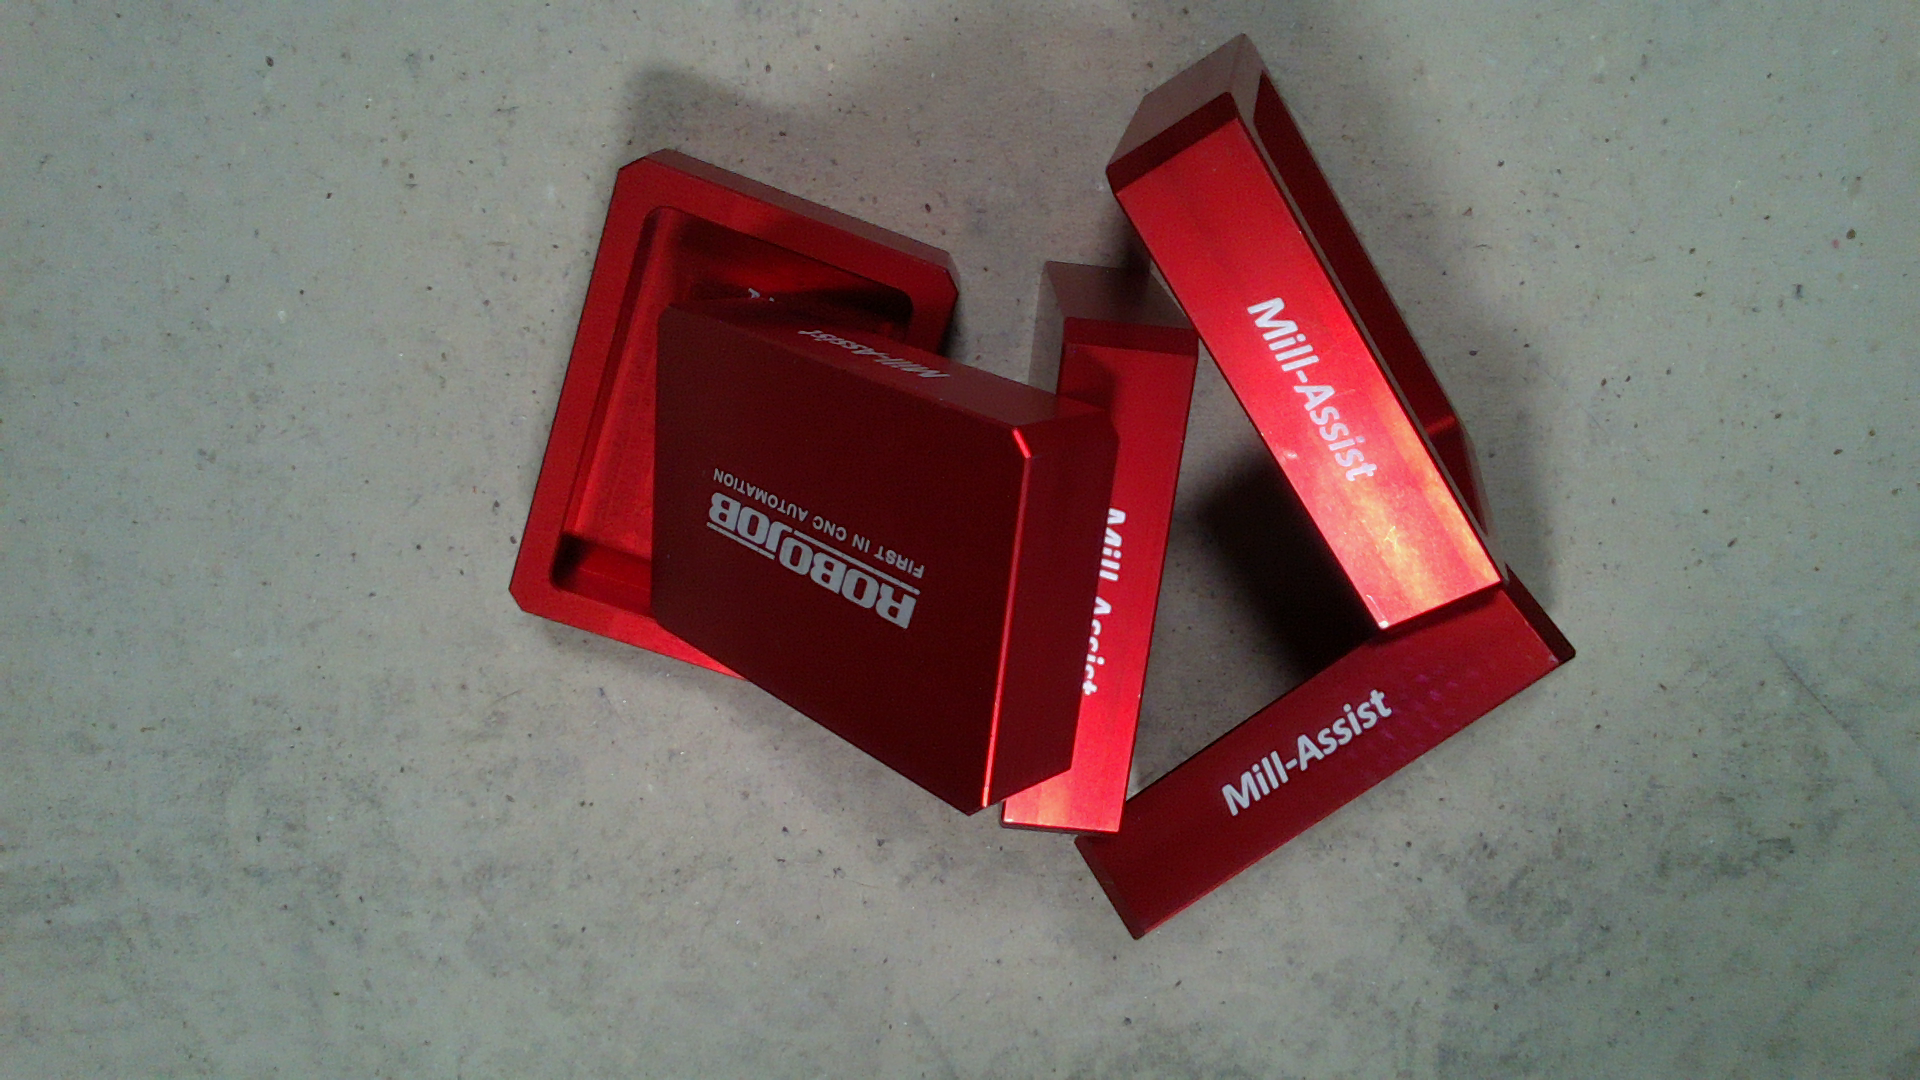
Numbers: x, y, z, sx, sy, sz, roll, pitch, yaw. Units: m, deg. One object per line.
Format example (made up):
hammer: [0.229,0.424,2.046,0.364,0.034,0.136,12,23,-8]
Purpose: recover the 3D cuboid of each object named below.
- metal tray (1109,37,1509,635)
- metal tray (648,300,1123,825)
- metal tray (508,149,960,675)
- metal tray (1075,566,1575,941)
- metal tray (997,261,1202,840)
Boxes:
metal tray: [0.087,-0.053,0.338,0.030,0.090,0.130,-27,109,25]
metal tray: [-0.026,-0.001,0.333,0.130,0.030,0.090,24,117,39]
metal tray: [-0.063,-0.030,0.380,0.090,0.030,0.130,19,109,-7]
metal tray: [0.103,0.059,0.382,0.130,0.090,0.030,-37,71,13]
metal tray: [0.031,-0.001,0.360,0.030,0.090,0.130,6,111,-2]
